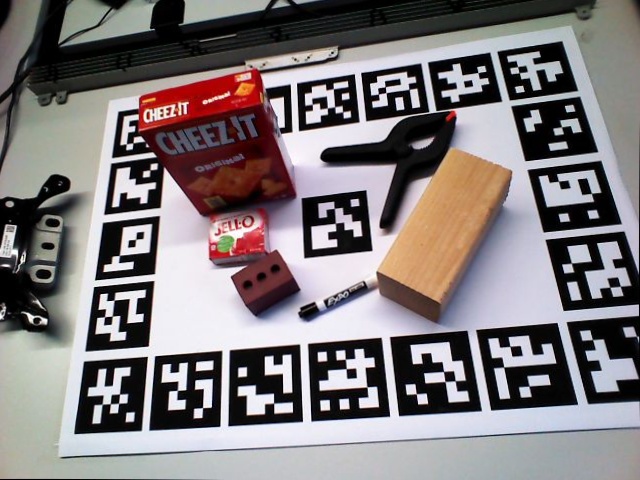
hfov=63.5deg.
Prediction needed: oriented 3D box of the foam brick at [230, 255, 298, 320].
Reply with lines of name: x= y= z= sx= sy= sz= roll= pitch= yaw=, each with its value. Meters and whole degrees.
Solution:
foam brick: x=-0.079 y=0.067 z=0.723 sx=0.078 sy=0.051 sz=0.052 roll=-29 pitch=67 yaw=-2

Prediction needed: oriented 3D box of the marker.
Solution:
marker: x=0.013 y=0.091 z=0.711 sx=0.121 sy=0.019 sz=0.019 roll=-25 pitch=67 yaw=0

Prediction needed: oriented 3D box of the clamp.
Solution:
clamp: x=0.125 y=-0.123 z=0.769 sx=0.203 sy=0.037 sz=0.165 roll=-35 pitch=67 yaw=-4

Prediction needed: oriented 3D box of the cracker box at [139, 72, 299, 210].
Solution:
cracker box: x=-0.128 y=-0.129 z=0.719 sx=0.165 sy=0.214 sz=0.071 roll=-9 pitch=65 yaw=5

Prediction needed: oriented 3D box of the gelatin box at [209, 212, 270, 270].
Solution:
gelatin box: x=-0.121 y=0.002 z=0.772 sx=0.090 sy=0.030 sz=0.073 roll=-7 pitch=68 yaw=8

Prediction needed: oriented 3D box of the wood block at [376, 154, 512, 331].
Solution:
wood block: x=0.165 y=0.002 z=0.685 sx=0.090 sy=0.091 sz=0.205 roll=28 pitch=73 yaw=22
